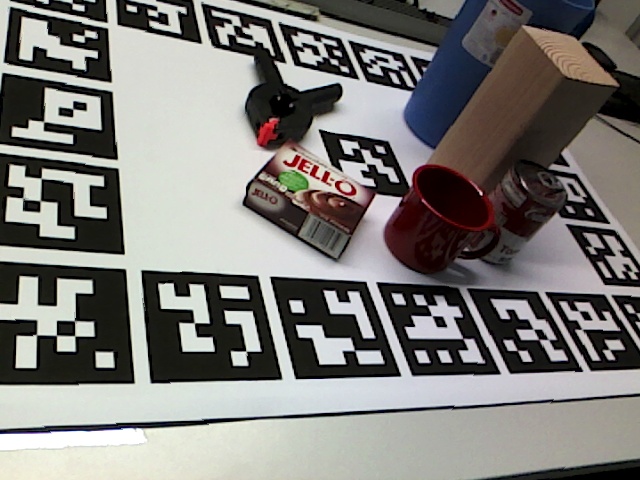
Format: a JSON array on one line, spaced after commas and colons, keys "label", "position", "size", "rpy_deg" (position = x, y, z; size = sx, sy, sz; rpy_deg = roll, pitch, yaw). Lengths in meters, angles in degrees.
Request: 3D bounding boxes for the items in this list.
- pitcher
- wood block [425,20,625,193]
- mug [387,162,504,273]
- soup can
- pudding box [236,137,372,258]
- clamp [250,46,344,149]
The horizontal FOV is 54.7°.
[{"label": "pitcher", "position": [0.225, -0.232, 0.789], "size": [0.188, 0.242, 0.134], "rpy_deg": [2, 47, -25]}, {"label": "wood block", "position": [0.228, -0.131, 0.715], "size": [0.089, 0.206, 0.091], "rpy_deg": [4, 48, -31]}, {"label": "mug", "position": [0.132, -0.014, 0.642], "size": [0.117, 0.081, 0.093], "rpy_deg": [29, 39, 0]}, {"label": "soup can", "position": [0.214, -0.030, 0.687], "size": [0.067, 0.102, 0.068], "rpy_deg": [15, 46, -17]}, {"label": "pudding box", "position": [-0.015, -0.044, 0.624], "size": [0.114, 0.038, 0.090], "rpy_deg": [31, 45, 1]}, {"label": "clamp", "position": [-0.037, -0.162, 0.735], "size": [0.121, 0.036, 0.165], "rpy_deg": [31, 41, -11]}]
